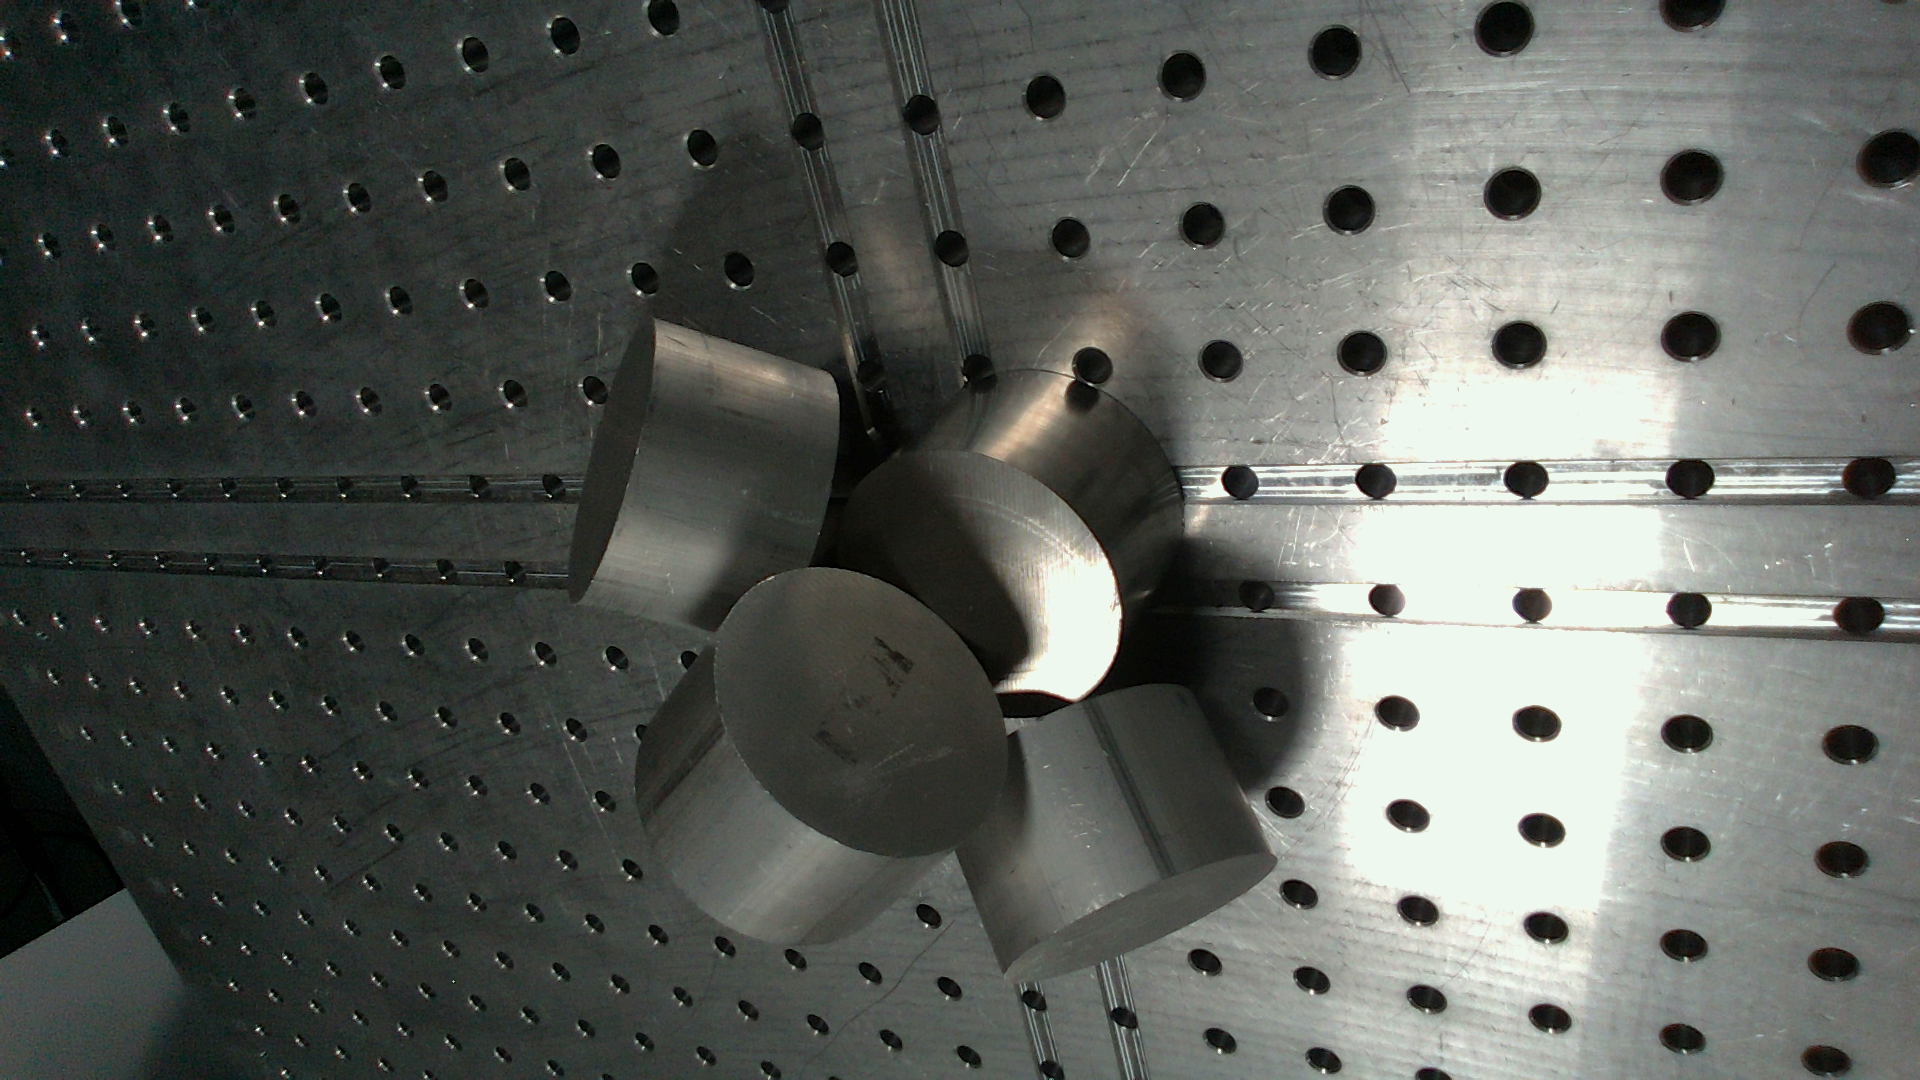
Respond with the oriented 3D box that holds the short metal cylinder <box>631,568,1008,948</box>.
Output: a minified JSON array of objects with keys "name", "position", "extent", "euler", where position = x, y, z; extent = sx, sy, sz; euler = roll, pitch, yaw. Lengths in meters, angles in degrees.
[{"name":"short metal cylinder","position":[-0.035,0.054,0.346],"extent":[0.080,0.080,0.050],"euler":[41,129,0]}]

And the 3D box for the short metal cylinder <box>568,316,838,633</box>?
[{"name":"short metal cylinder","position":[-0.072,-0.016,0.380],"extent":[0.050,0.080,0.080],"euler":[15,133,-23]}]

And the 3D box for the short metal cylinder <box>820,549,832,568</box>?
[{"name":"short metal cylinder","position":[-0.028,0.047,0.423],"extent":[0.080,0.050,0.080],"euler":[13,124,21]}]

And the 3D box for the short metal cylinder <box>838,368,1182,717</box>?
[{"name":"short metal cylinder","position":[0.014,0.000,0.371],"extent":[0.080,0.050,0.080],"euler":[13,124,21]}]

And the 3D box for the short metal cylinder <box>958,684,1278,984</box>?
[{"name":"short metal cylinder","position":[0.040,0.082,0.380],"extent":[0.080,0.080,0.050],"euler":[-48,55,39]}]
